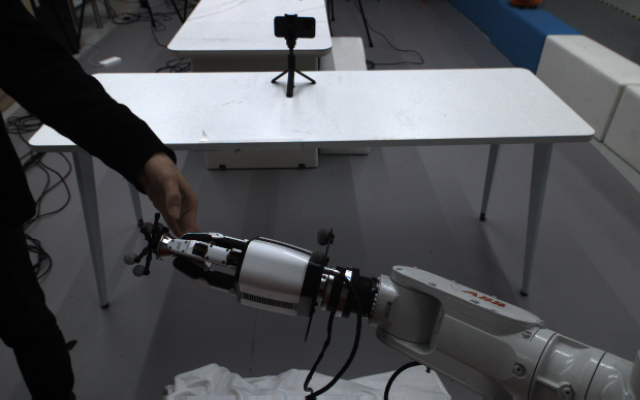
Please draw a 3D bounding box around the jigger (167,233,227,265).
[{"bbox_3d":[-0.178,0.068,0.670,0.071,0.043,0.043,11,35,4],"label":"jigger"}]
